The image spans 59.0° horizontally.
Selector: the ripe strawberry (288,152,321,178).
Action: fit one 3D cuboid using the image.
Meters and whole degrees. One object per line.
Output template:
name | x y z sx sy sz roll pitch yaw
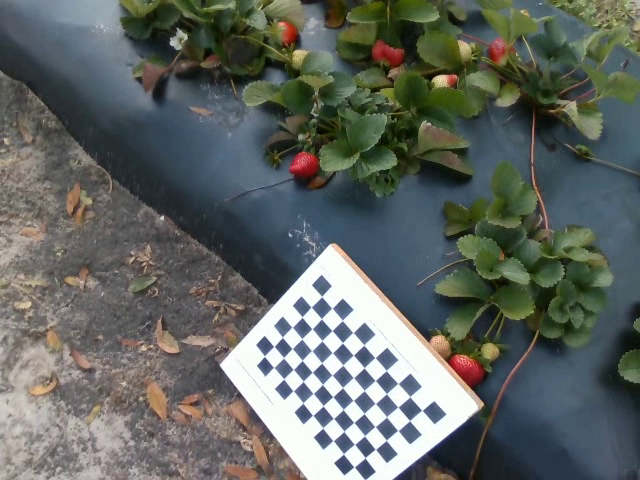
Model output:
ripe strawberry | -0.032 -0.124 0.926 0.050 0.049 0.053 40 38 15
